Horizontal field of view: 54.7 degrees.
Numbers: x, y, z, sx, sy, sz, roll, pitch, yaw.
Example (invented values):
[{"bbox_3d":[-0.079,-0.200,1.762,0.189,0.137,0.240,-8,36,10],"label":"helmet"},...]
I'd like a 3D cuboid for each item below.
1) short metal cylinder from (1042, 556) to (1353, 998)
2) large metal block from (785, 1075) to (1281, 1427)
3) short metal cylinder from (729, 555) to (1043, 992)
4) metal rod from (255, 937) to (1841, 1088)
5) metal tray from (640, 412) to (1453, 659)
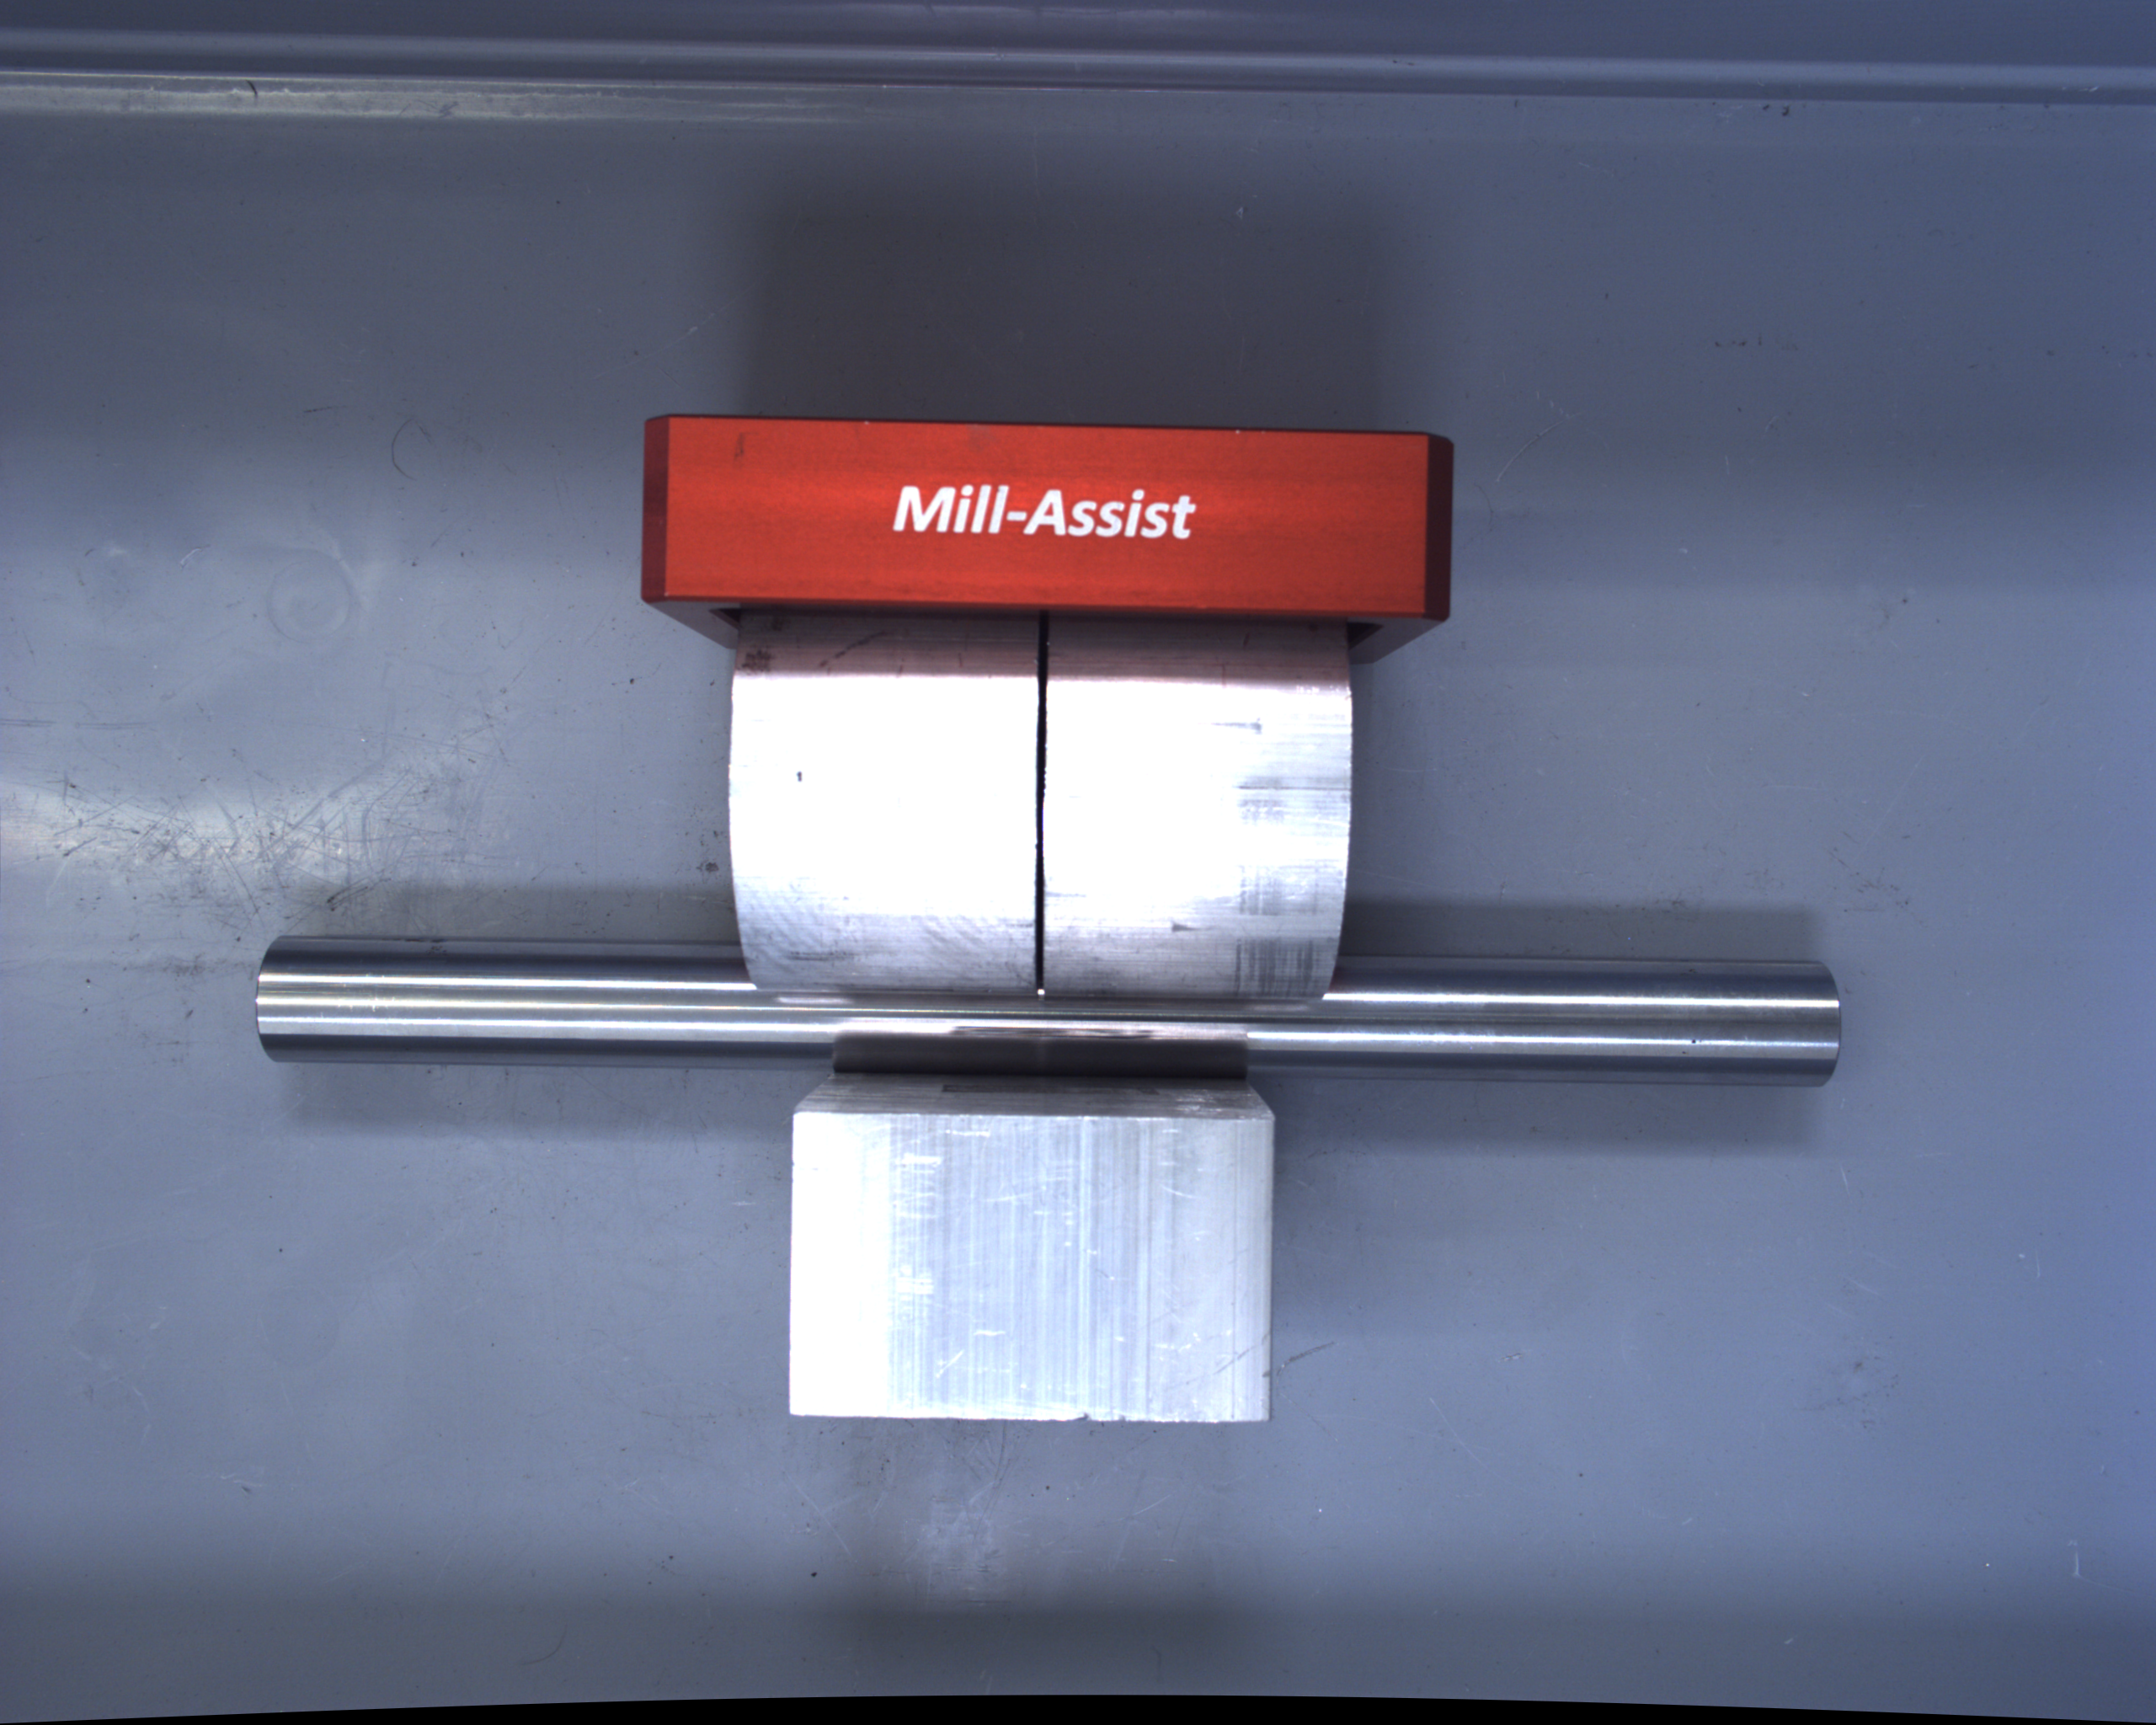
[{"bbox_3d":[0.020,-0.016,0.383,0.050,0.080,0.079,2,90,0],"label":"short metal cylinder"},{"bbox_3d":[-0.007,0.067,0.382,0.081,0.080,0.050,1,90,0],"label":"large metal block"},{"bbox_3d":[-0.032,-0.016,0.383,0.050,0.080,0.079,1,90,0],"label":"short metal cylinder"},{"bbox_3d":[-0.005,0.029,0.409,0.302,0.025,0.025,1,90,0],"label":"metal rod"},{"bbox_3d":[-0.005,-0.056,0.377,0.131,0.090,0.030,1,90,0],"label":"metal tray"}]
